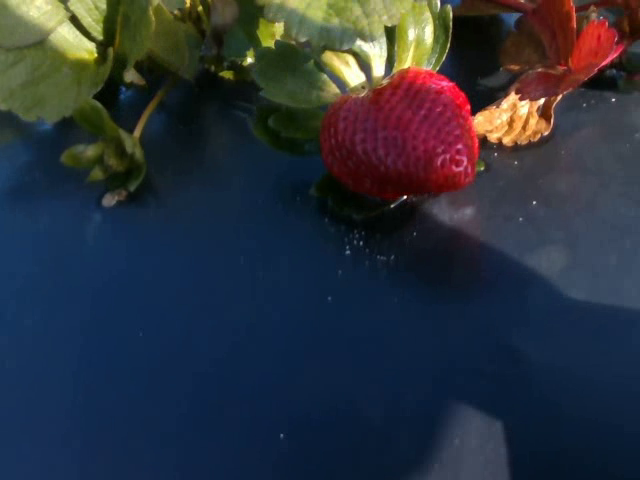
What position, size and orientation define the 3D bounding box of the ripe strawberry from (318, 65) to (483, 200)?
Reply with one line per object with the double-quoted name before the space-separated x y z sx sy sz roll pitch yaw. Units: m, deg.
"ripe strawberry" 0.020 -0.023 0.138 0.040 0.041 0.056 -41 25 6
